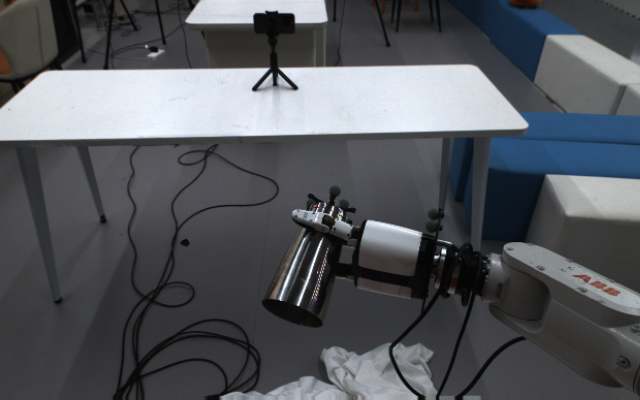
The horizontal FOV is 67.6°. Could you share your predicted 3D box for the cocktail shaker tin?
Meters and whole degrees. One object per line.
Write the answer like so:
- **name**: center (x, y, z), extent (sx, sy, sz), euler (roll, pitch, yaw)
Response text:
- **cocktail shaker tin**: center (-0.013, 0.087, 0.719), extent (0.093, 0.093, 0.170), euler (13, 59, 16)
